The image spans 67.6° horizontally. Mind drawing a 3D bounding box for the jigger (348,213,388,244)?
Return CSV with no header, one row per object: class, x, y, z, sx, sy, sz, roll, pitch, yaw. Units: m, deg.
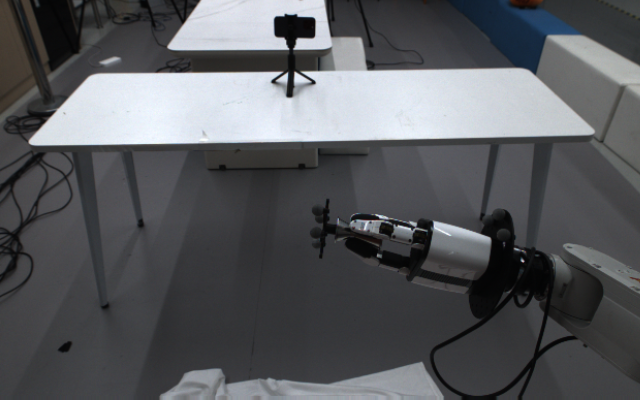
jigger,0.064,0.042,0.711,0.071,0.043,0.043,5,35,2
